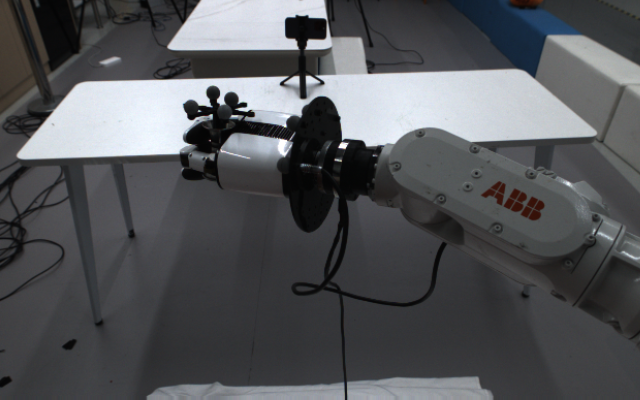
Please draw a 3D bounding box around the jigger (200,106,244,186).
[{"bbox_3d":[-0.128,-0.063,0.608,0.043,0.071,0.043,5,26,-3],"label":"jigger"}]
